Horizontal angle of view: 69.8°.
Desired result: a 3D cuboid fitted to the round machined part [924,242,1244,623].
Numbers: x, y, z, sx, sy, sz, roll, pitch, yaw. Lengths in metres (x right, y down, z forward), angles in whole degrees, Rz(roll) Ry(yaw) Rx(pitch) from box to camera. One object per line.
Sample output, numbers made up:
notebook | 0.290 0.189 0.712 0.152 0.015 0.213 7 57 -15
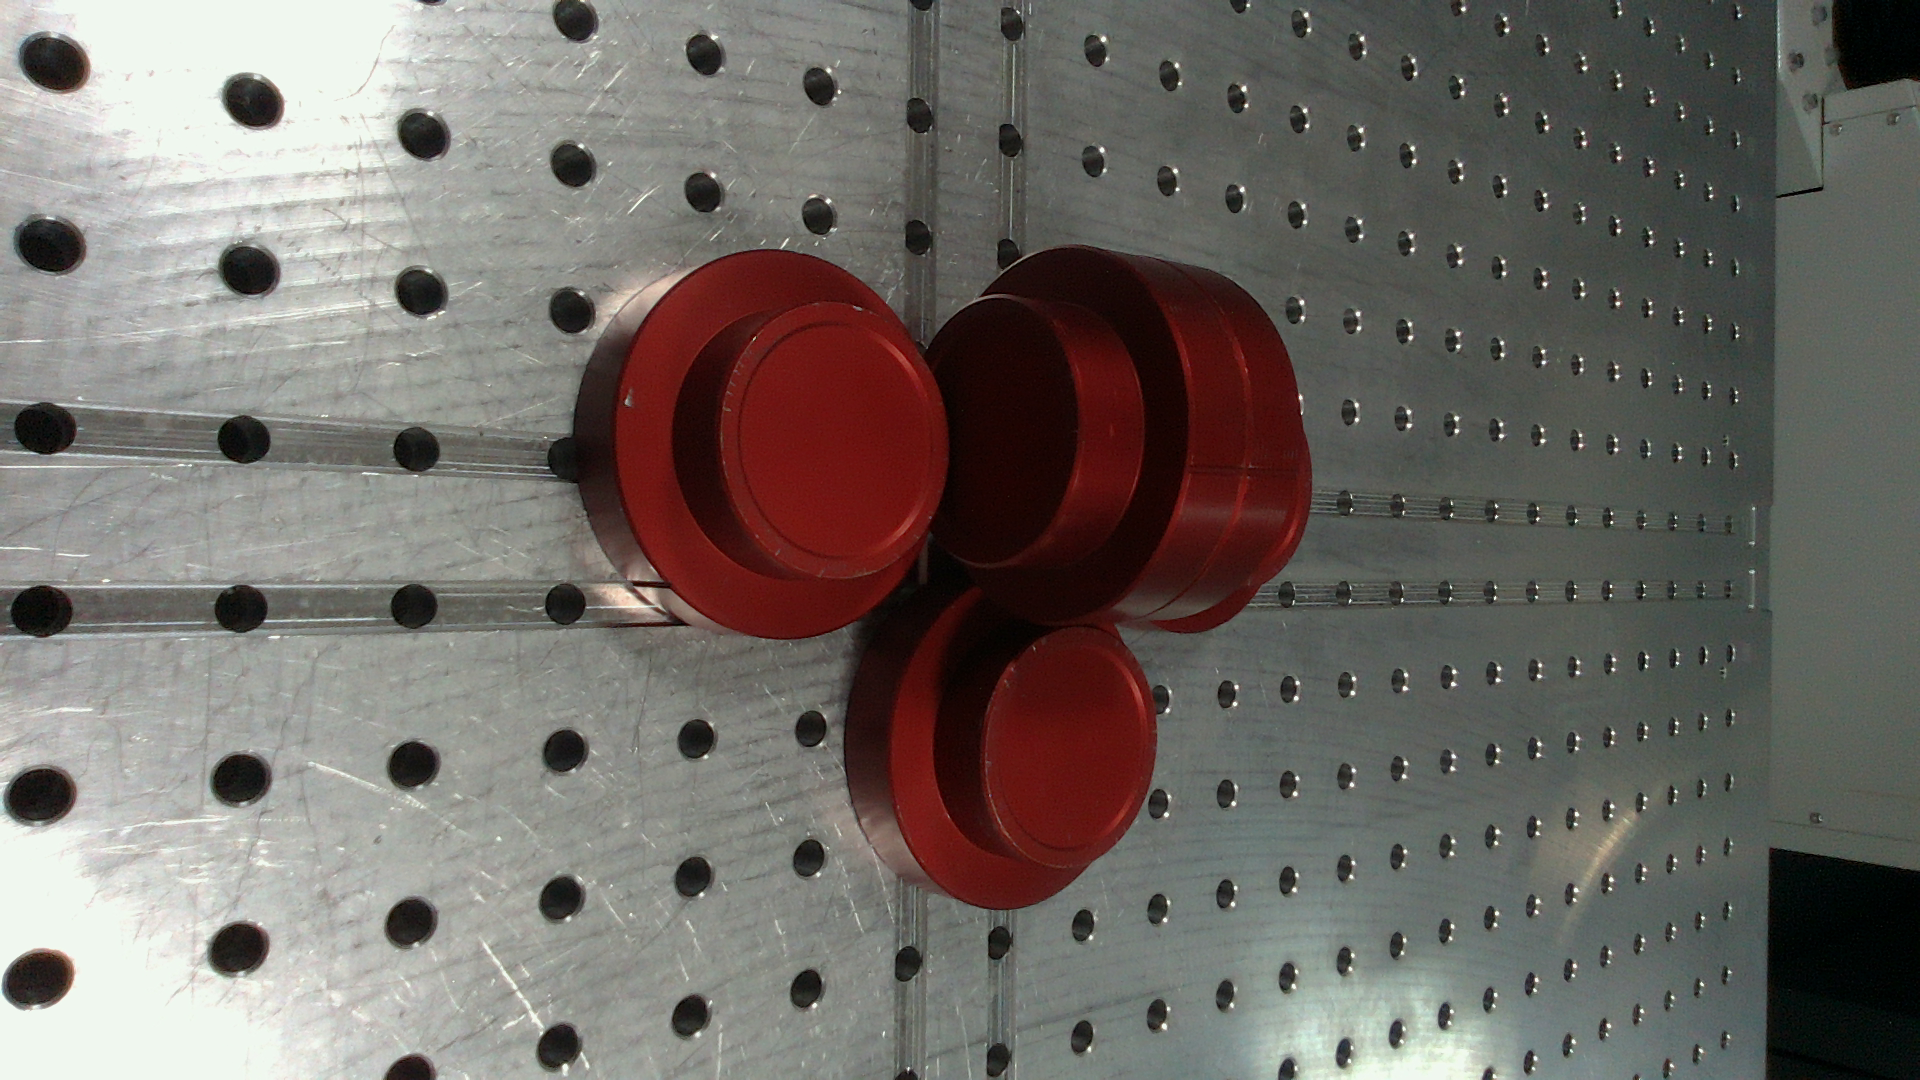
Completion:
round machined part | 0.022 -0.028 0.355 0.042 0.098 0.098 2 89 -40

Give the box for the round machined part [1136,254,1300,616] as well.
round machined part | 0.055 -0.028 0.383 0.042 0.098 0.098 -1 91 -40

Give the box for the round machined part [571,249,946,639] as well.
round machined part | -0.043 -0.024 0.345 0.098 0.042 0.098 0 90 -40

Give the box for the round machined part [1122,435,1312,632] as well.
round machined part | 0.076 -0.019 0.443 0.098 0.042 0.098 0 90 -40

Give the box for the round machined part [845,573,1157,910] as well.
round machined part | 0.019 0.057 0.396 0.098 0.042 0.098 0 90 -40
